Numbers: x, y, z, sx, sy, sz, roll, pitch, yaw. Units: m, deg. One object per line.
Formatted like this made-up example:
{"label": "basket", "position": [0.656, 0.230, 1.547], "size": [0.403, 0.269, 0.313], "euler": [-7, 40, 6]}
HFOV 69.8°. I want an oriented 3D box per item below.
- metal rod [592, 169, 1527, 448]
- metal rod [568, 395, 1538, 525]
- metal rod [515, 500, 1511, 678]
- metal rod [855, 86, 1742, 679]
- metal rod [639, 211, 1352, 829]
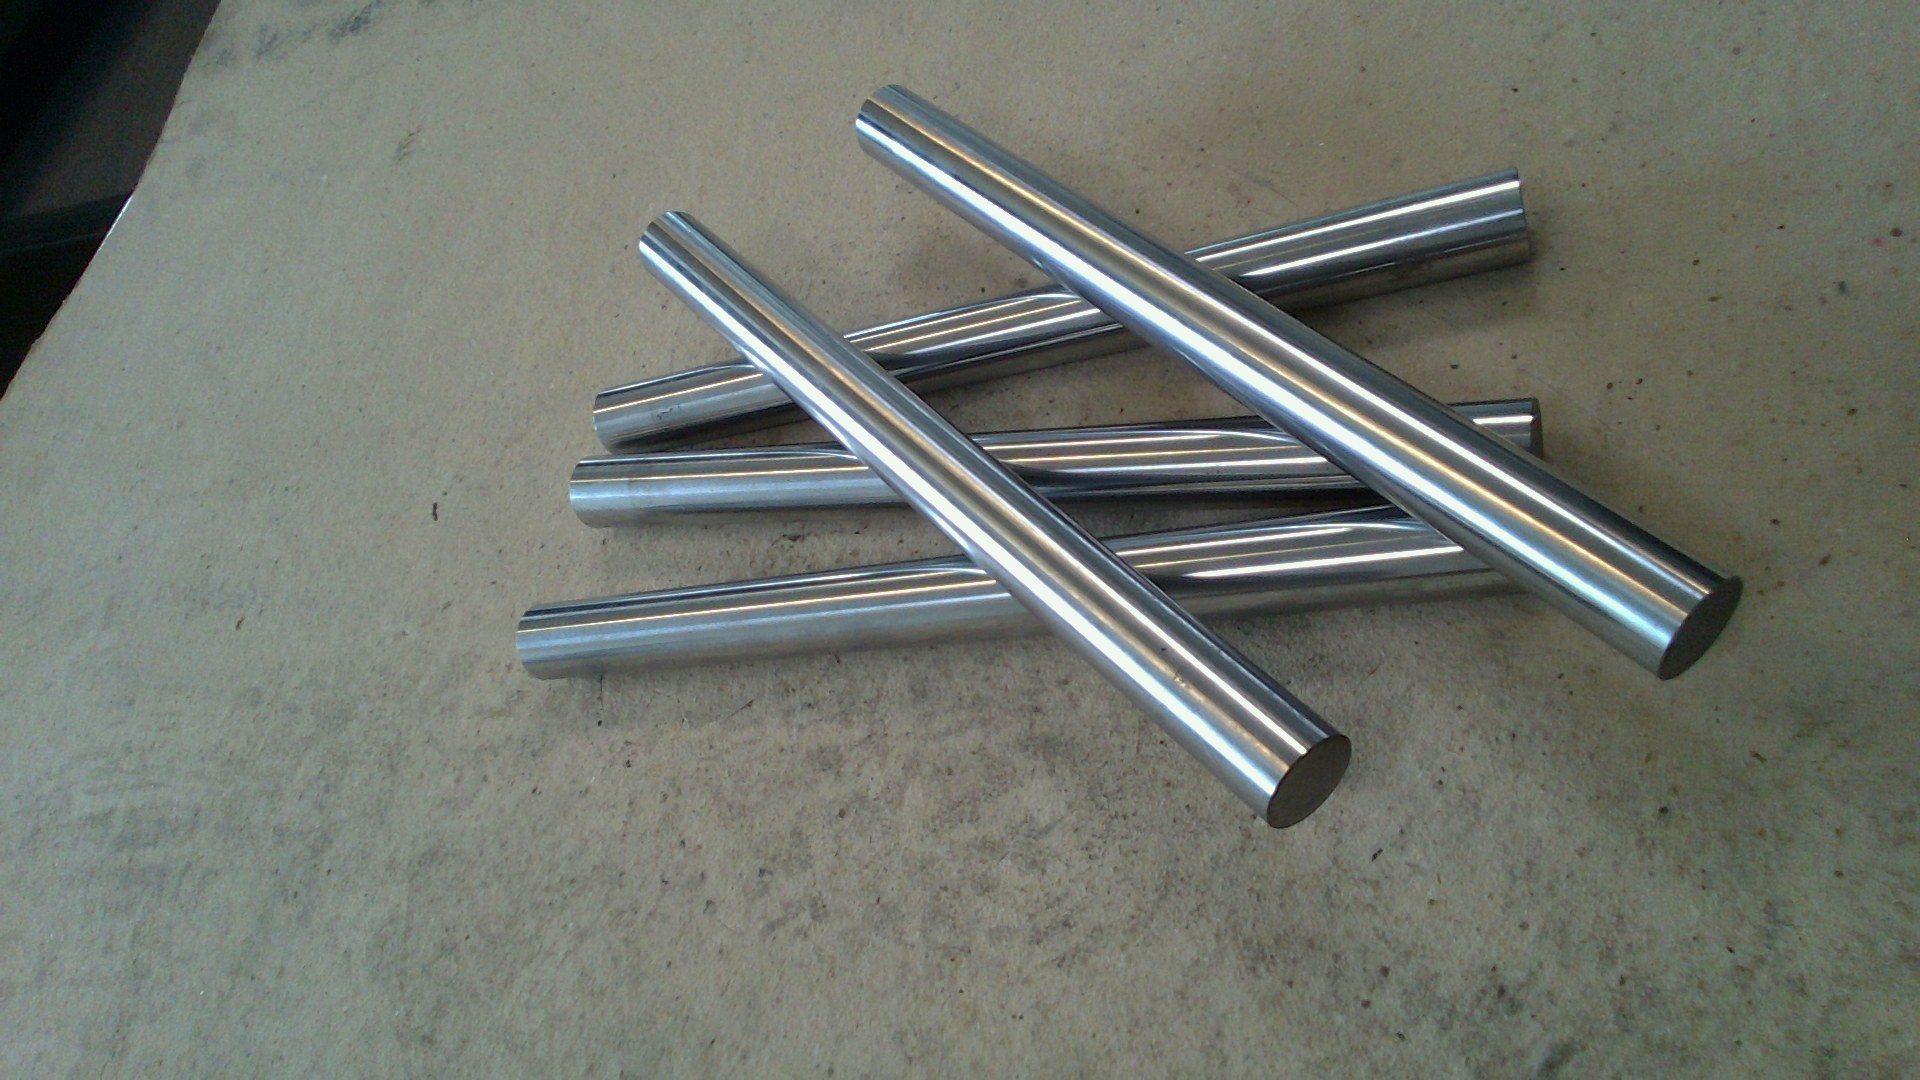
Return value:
{"label": "metal rod", "position": [0.014, -0.064, 0.426], "size": [0.299, 0.025, 0.025], "euler": [-9, 57, 23]}
{"label": "metal rod", "position": [0.007, -0.020, 0.402], "size": [0.299, 0.025, 0.025], "euler": [-1, 61, 28]}
{"label": "metal rod", "position": [-0.001, 0.016, 0.384], "size": [0.299, 0.025, 0.025], "euler": [-7, 58, 25]}
{"label": "metal rod", "position": [0.061, -0.061, 0.366], "size": [0.025, 0.025, 0.299], "euler": [-45, 51, -3]}
{"label": "metal rod", "position": [-0.013, -0.026, 0.385], "size": [0.025, 0.025, 0.299], "euler": [-46, 51, -4]}
